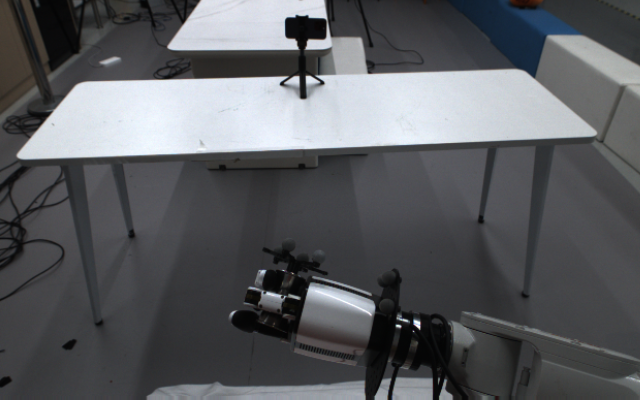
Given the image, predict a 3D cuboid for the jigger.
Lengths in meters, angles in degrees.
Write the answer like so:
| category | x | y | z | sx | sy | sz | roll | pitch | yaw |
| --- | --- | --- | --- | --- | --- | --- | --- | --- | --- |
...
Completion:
| category | x | y | z | sx | sy | sz | roll | pitch | yaw |
| --- | --- | --- | --- | --- | --- | --- | --- | --- | --- |
| jigger | -0.047 | 0.122 | 0.596 | 0.043 | 0.043 | 0.071 | 15 | 70 | 18 |
